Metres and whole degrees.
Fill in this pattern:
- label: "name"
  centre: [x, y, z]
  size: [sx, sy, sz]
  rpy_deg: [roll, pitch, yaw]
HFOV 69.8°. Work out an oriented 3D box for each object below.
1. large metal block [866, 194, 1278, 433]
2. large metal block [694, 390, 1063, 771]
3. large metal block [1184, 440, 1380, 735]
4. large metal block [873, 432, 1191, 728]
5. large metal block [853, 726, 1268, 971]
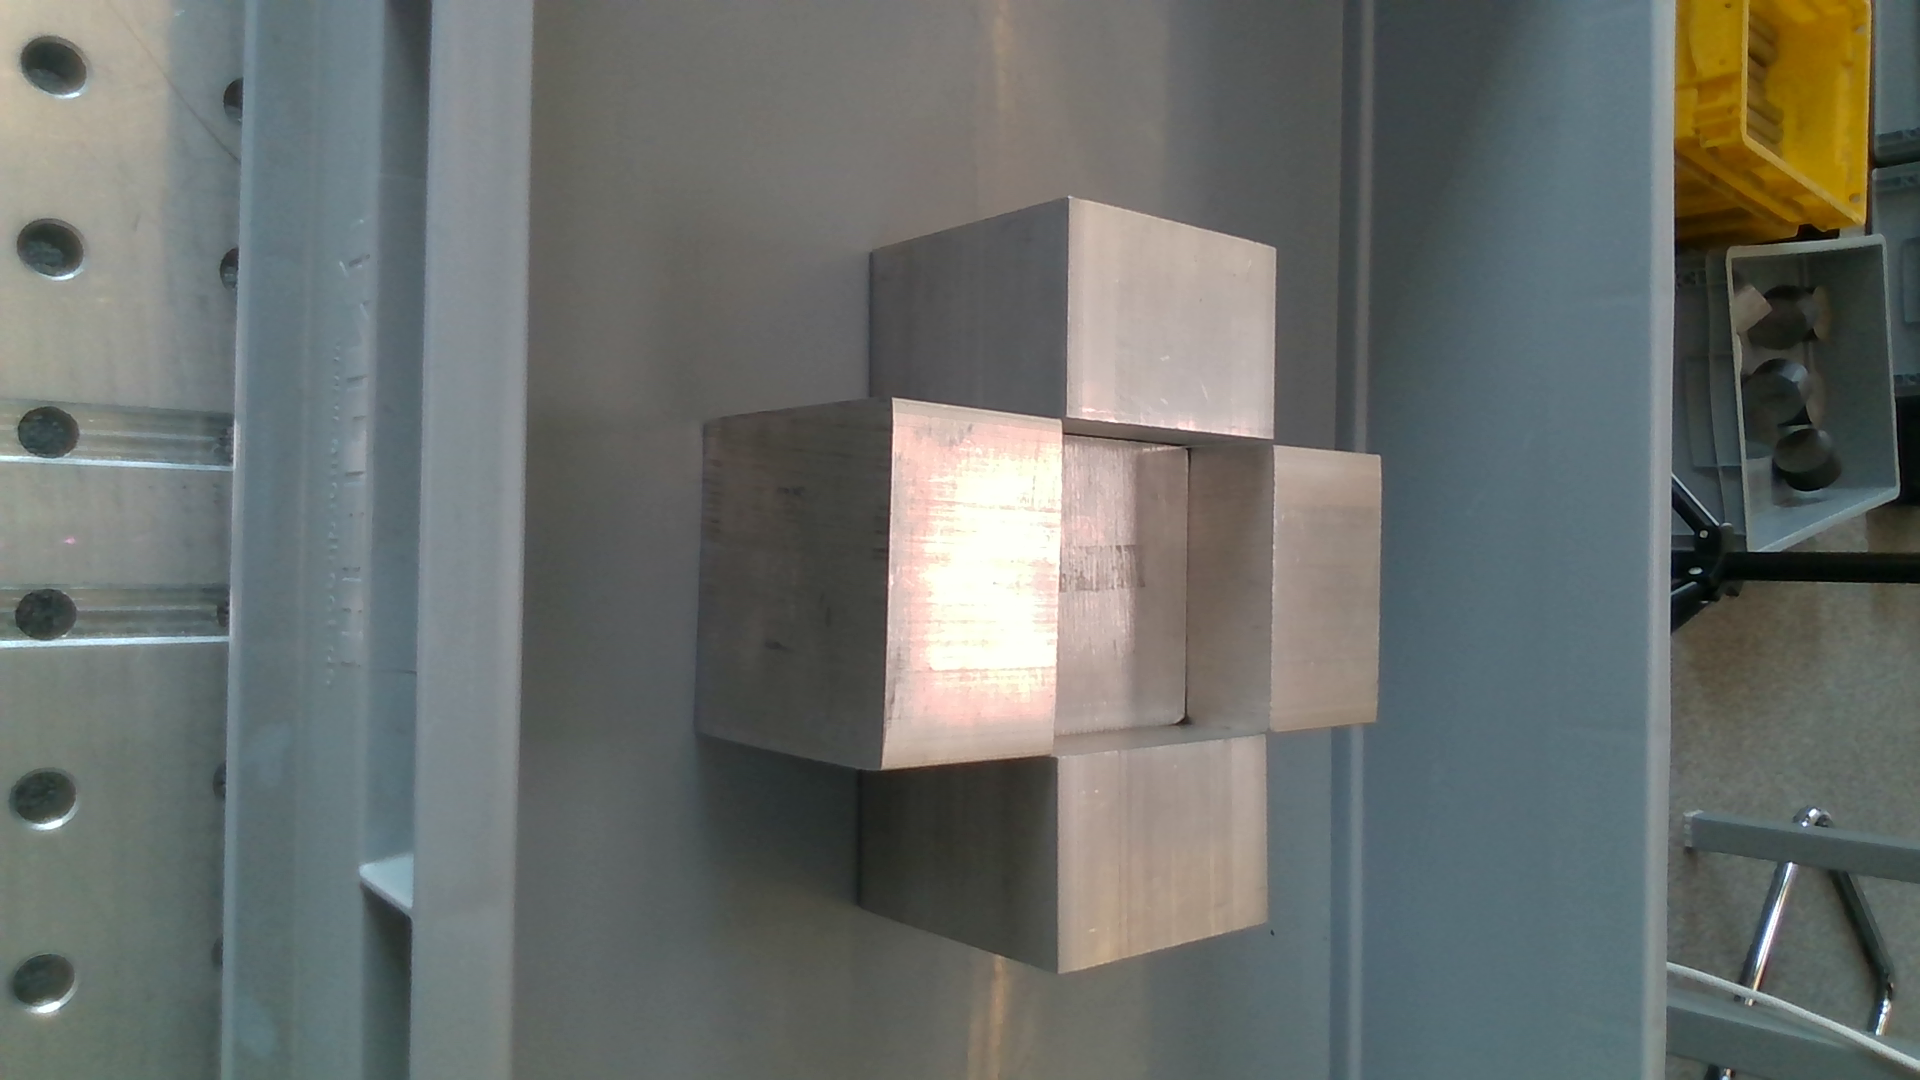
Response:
- label: "large metal block"
  centre: [0.030, -0.056, 0.380]
  size: [0.080, 0.080, 0.050]
  rpy_deg: [1, 89, -40]
- label: "large metal block"
  centre: [-0.022, 0.009, 0.336]
  size: [0.050, 0.080, 0.080]
  rpy_deg: [2, 89, -40]
- label: "large metal block"
  centre: [0.079, 0.013, 0.420]
  size: [0.050, 0.080, 0.080]
  rpy_deg: [1, 89, -40]
- label: "large metal block"
  centre: [0.019, 0.012, 0.389]
  size: [0.080, 0.050, 0.080]
  rpy_deg: [1, 89, -40]
- label: "large metal block"
  centre: [0.027, 0.076, 0.378]
  size: [0.080, 0.080, 0.050]
  rpy_deg: [1, 89, -40]
